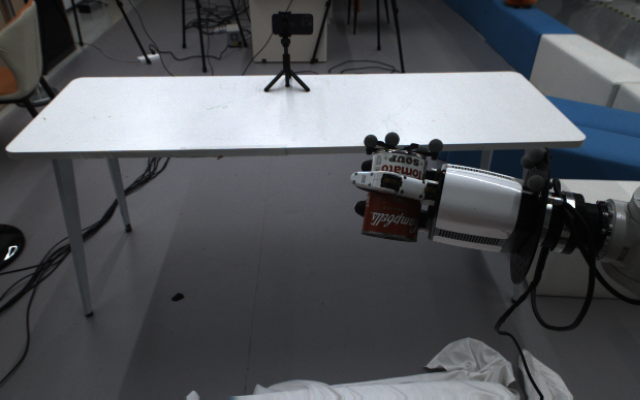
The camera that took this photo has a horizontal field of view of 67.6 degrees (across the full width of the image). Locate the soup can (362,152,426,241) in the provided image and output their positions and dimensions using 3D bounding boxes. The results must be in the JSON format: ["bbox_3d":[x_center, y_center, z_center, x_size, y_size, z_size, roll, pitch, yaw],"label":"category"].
[{"bbox_3d":[0.092,-0.004,0.585,0.067,0.101,0.067,9,-6,1],"label":"soup can"}]
